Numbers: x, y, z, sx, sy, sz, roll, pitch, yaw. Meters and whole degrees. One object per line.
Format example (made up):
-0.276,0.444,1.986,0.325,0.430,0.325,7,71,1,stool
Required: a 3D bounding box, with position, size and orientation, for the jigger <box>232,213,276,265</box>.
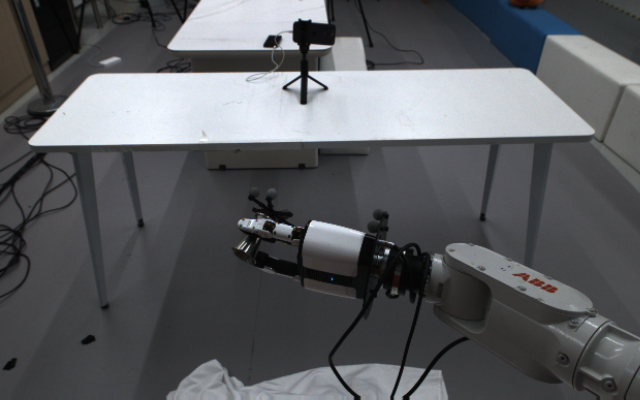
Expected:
-0.101,0.054,0.738,0.043,0.043,0.071,19,61,23,jigger
